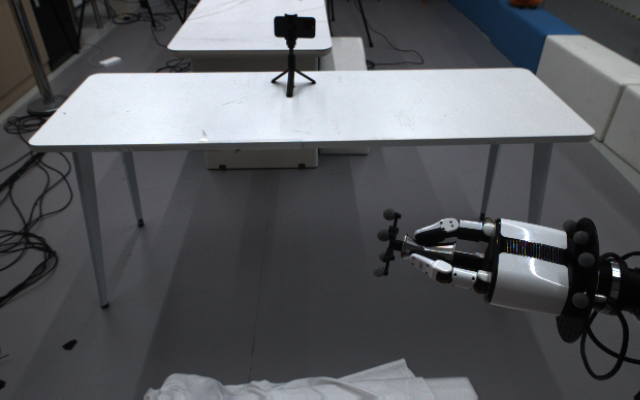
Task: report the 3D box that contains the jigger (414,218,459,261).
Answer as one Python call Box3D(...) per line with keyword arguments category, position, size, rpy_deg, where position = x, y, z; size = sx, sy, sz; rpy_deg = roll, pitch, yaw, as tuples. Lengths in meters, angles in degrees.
Box3D(category="jigger", position=(0.154, 0.068, 0.661), size=(0.071, 0.043, 0.043), rpy_deg=(11, 36, 16))
